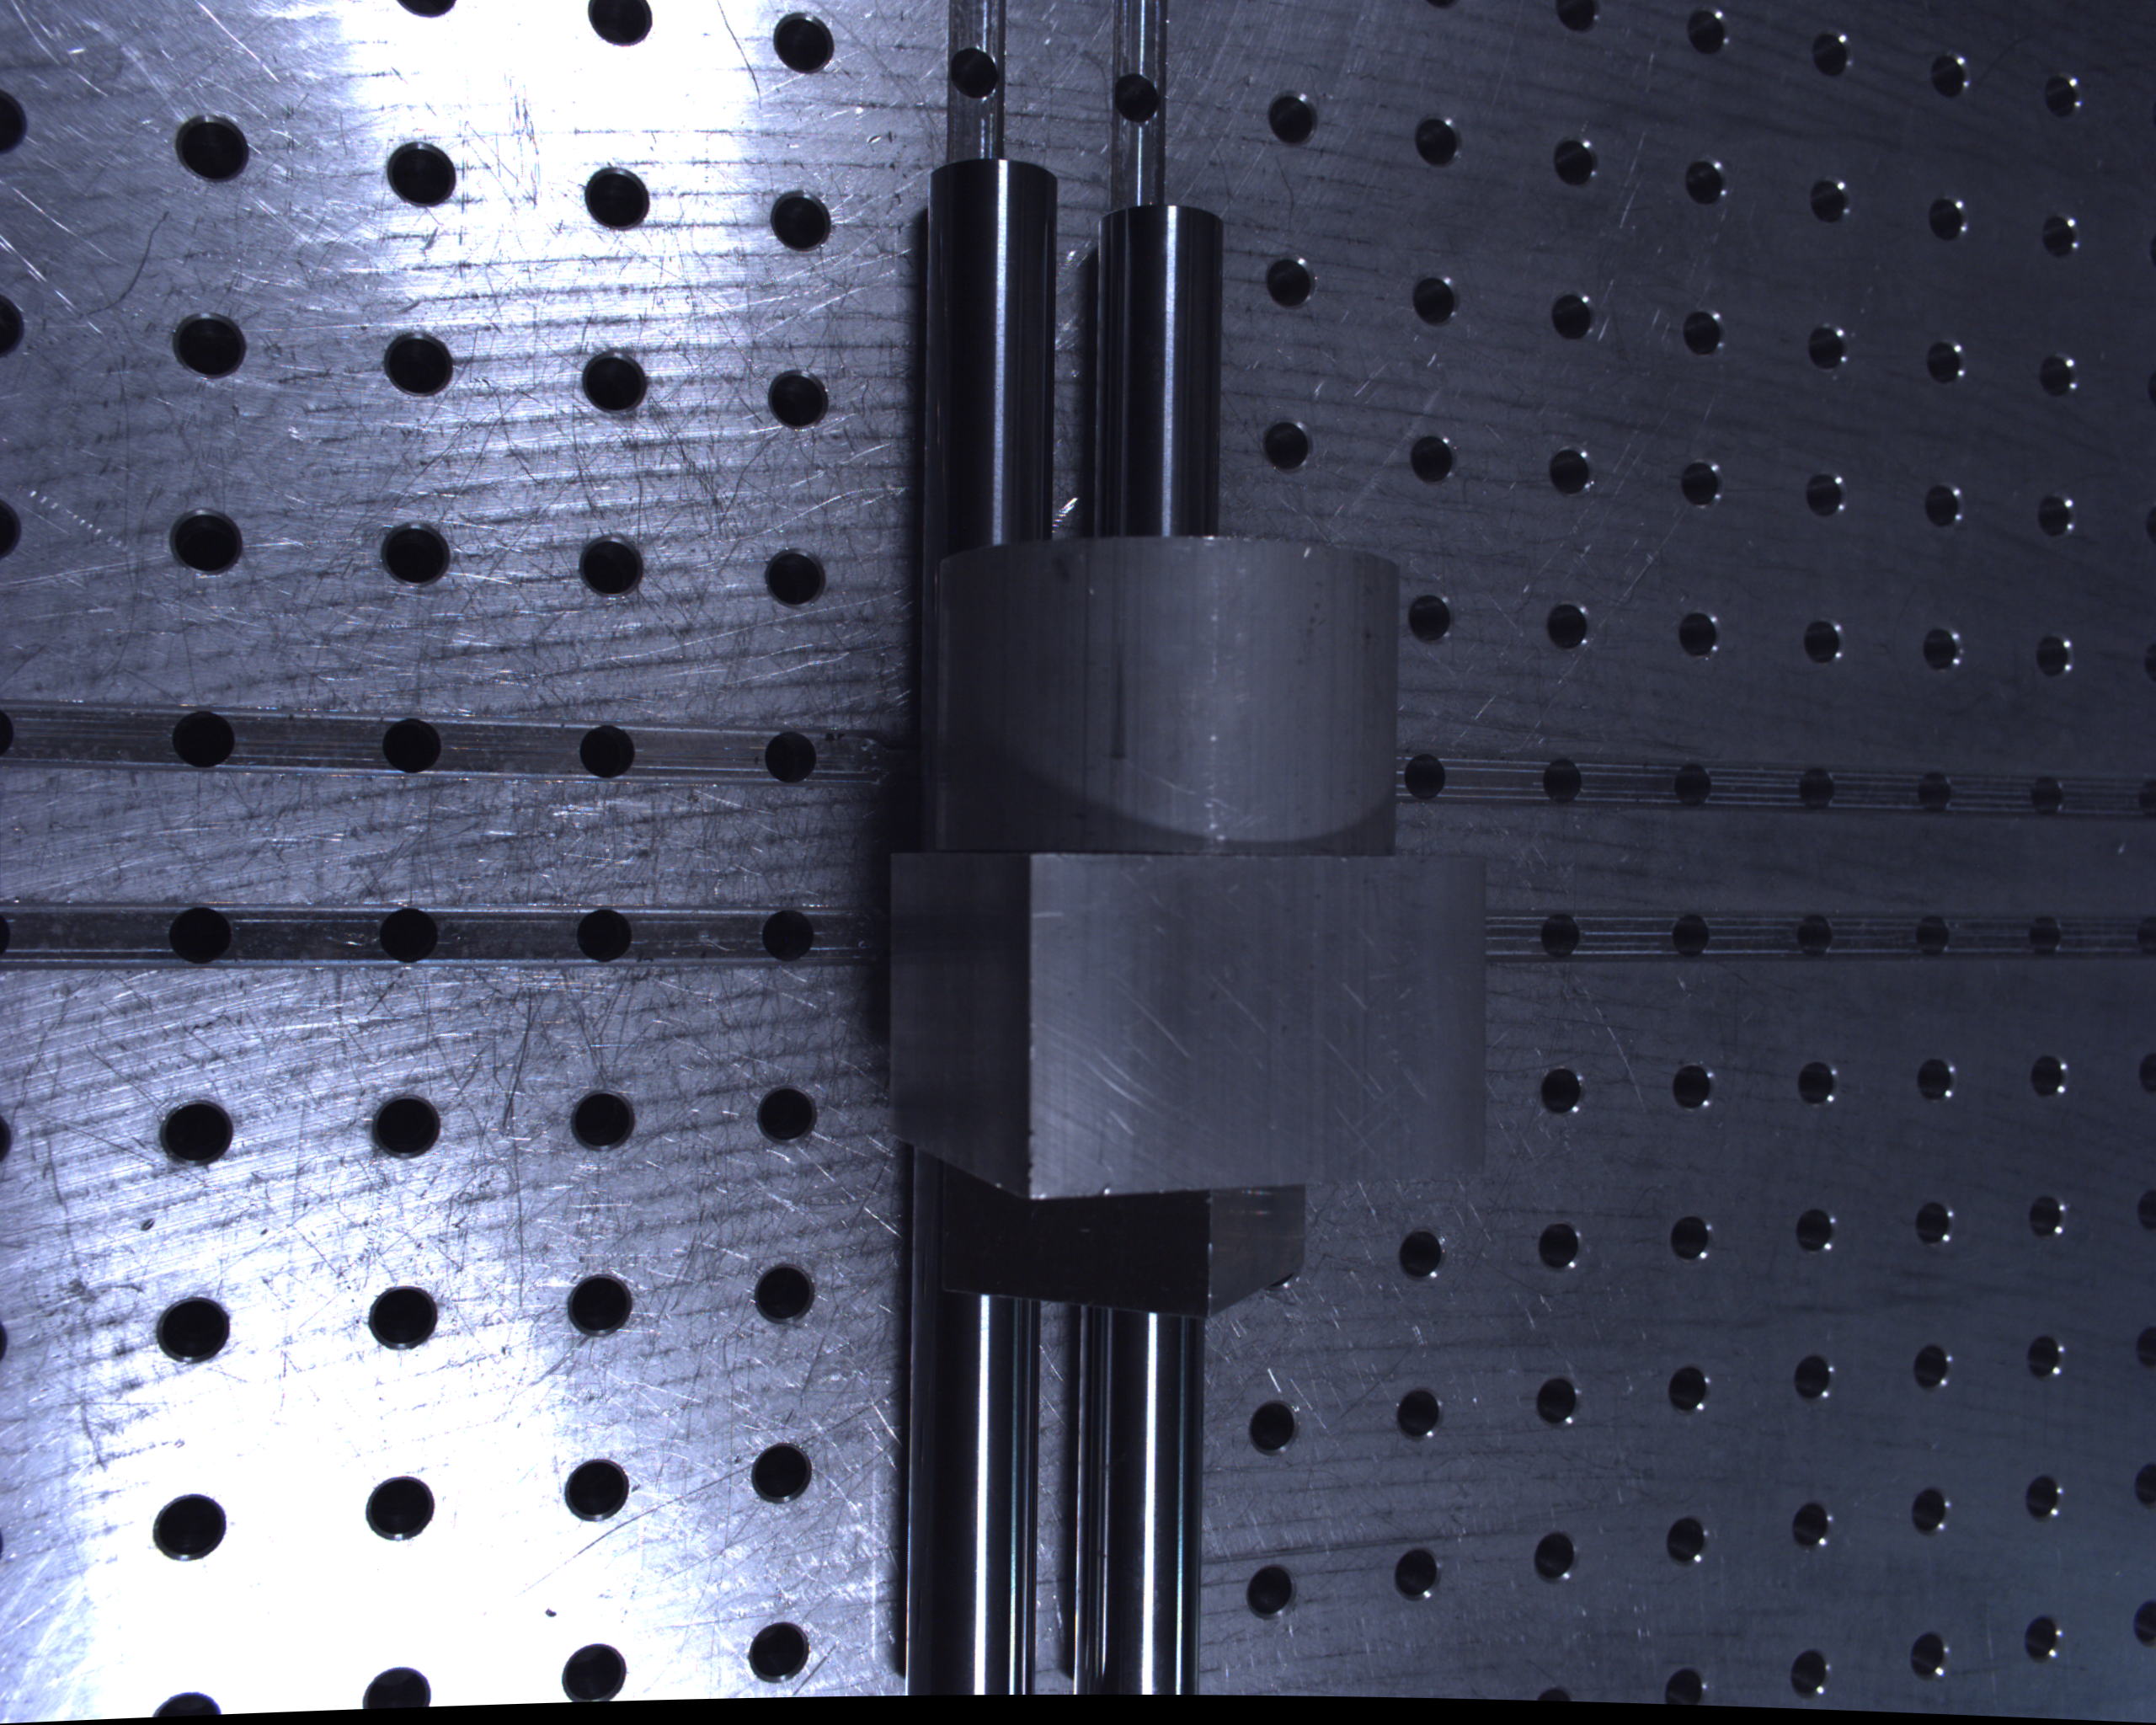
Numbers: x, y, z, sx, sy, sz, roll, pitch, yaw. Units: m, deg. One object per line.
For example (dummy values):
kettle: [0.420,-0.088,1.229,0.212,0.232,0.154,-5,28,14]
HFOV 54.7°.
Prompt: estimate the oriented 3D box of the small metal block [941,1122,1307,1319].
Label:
small metal block: [0.010,0.063,0.380,0.050,0.050,0.025,1,90,-65]

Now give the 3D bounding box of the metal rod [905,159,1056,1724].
metal rod: [-0.019,0.015,0.408,0.025,0.025,0.298,1,90,-20]

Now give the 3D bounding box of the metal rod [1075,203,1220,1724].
metal rod: [0.014,0.020,0.420,0.025,0.025,0.298,1,90,-20]

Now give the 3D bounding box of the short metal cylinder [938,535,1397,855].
short metal cylinder: [0.016,-0.027,0.368,0.081,0.080,0.050,1,90,-20]

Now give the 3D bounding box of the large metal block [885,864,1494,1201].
large metal block: [0.016,0.026,0.364,0.081,0.080,0.050,0,90,-20]
